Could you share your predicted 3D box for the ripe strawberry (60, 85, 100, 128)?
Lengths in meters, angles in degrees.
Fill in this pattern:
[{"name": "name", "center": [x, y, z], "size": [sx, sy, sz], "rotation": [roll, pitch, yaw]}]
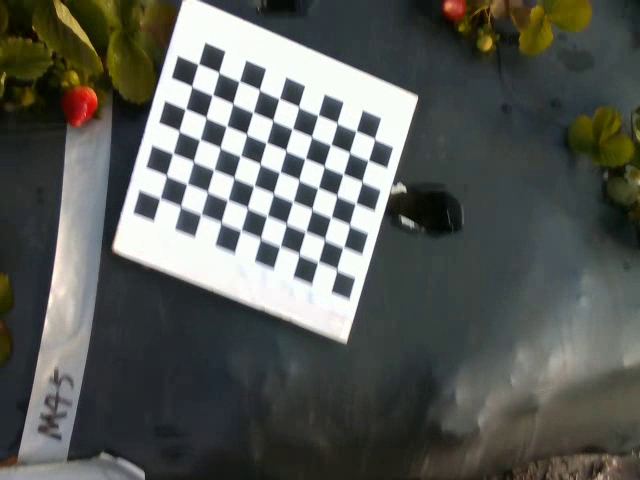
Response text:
[{"name": "ripe strawberry", "center": [-0.224, -0.117, 1.193], "size": [0.050, 0.055, 0.035], "rotation": [15, -26, -29]}]
